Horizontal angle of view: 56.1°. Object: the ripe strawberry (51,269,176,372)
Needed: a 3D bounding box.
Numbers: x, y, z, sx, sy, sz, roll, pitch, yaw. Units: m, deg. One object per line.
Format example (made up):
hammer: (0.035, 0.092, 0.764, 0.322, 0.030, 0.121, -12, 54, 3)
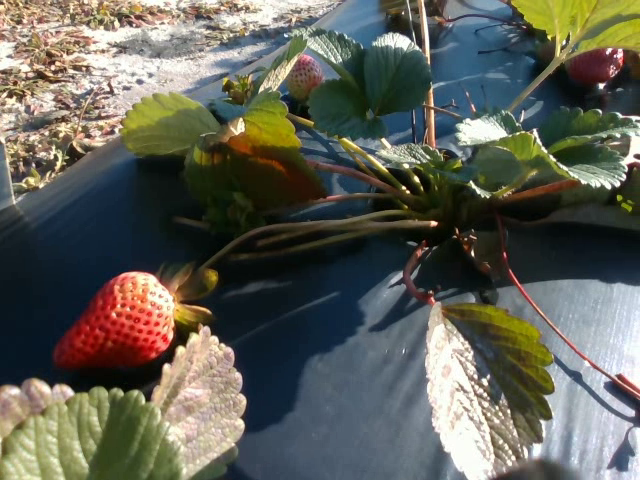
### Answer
ripe strawberry: (-0.083, 0.034, 0.238, 0.044, 0.044, 0.063, -30, 4, 46)
